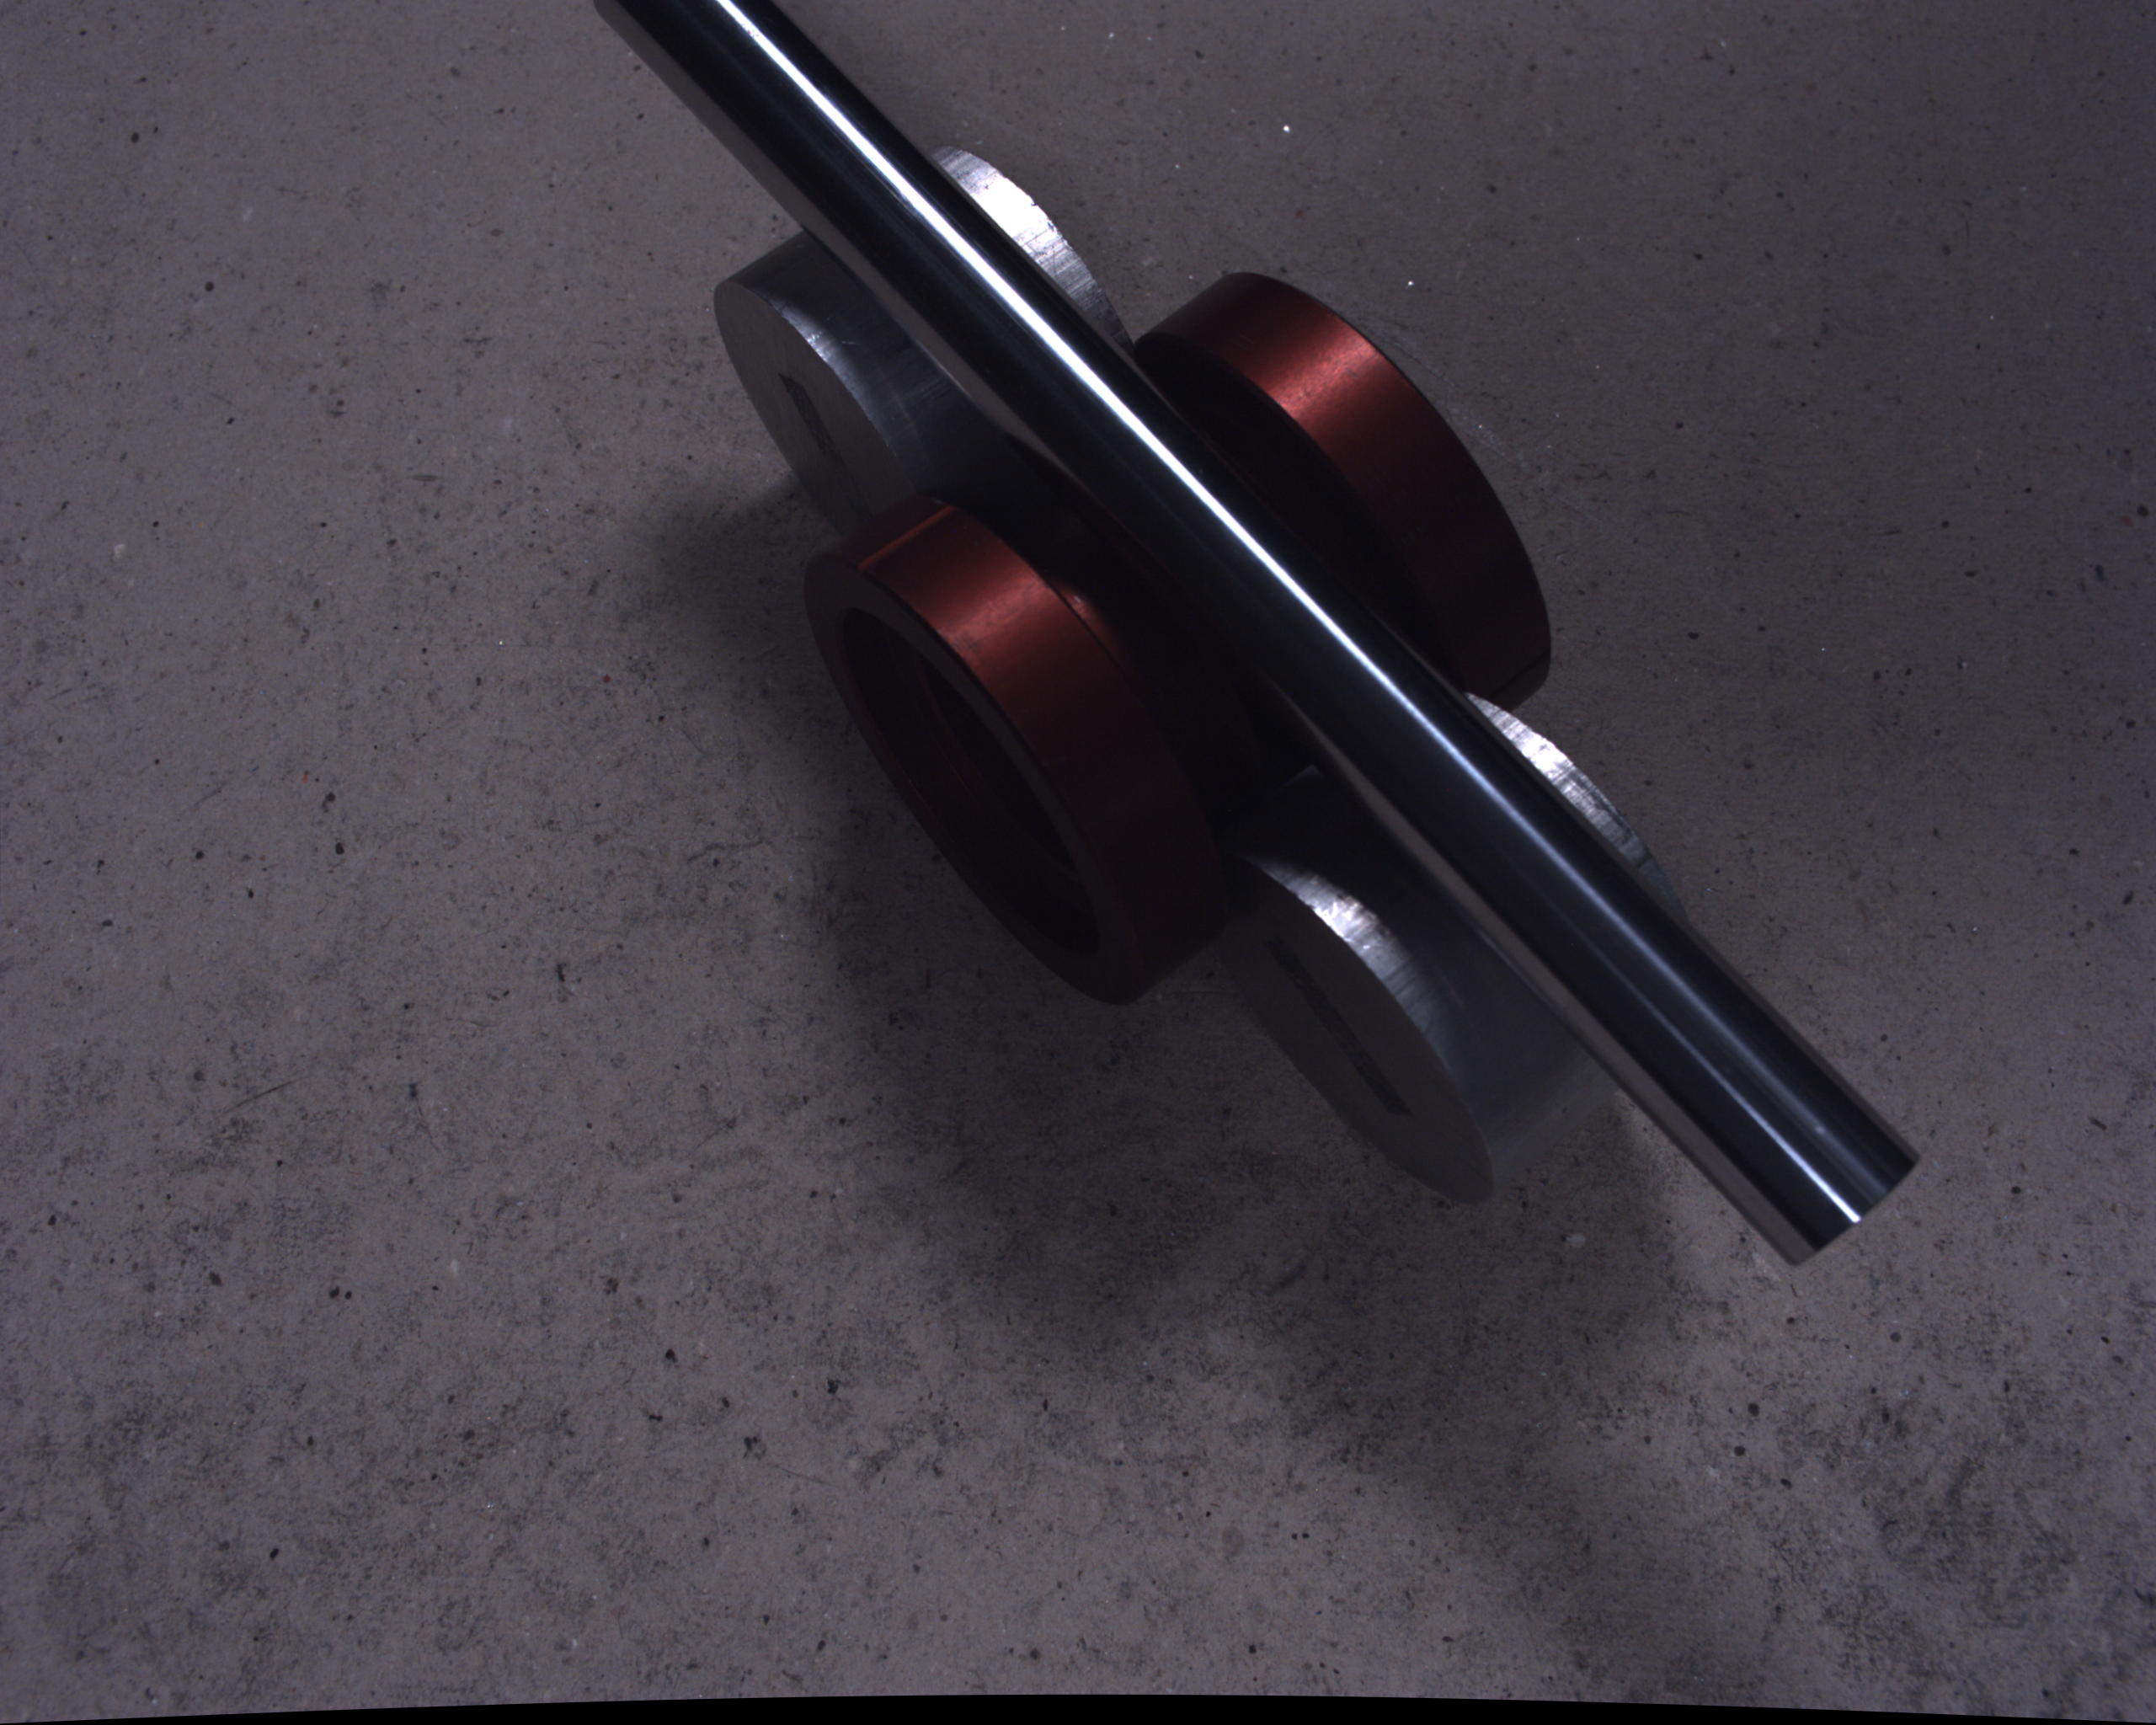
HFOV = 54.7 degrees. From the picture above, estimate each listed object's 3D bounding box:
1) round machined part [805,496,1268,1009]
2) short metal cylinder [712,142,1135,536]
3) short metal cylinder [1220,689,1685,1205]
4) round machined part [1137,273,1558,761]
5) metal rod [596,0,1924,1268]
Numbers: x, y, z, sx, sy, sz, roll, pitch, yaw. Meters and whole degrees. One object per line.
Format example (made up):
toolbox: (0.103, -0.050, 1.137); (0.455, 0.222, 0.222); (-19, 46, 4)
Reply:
round machined part: (-0.003, -0.025, 0.378); (0.042, 0.098, 0.098); (-37, 74, -16)
short metal cylinder: (-0.028, -0.094, 0.414); (0.050, 0.080, 0.080); (-37, 75, -13)
short metal cylinder: (0.065, 0.014, 0.375); (0.050, 0.080, 0.080); (-37, 75, -13)
round machined part: (0.040, -0.057, 0.392); (0.042, 0.098, 0.098); (-39, 75, -8)
metal rod: (0.018, -0.056, 0.346); (0.025, 0.025, 0.300); (-38, 75, -13)
